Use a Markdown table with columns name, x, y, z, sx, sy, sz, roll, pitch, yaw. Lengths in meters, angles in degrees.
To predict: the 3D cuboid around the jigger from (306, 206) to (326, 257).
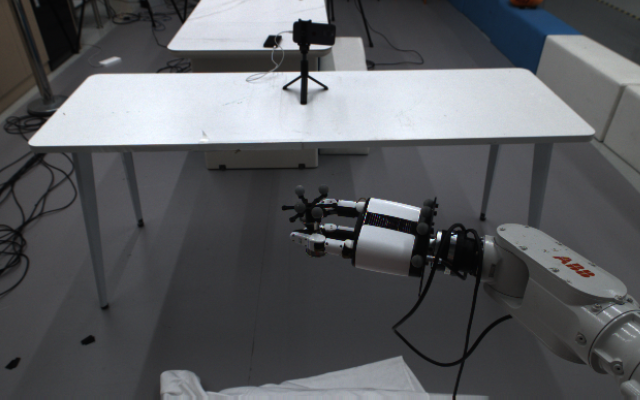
| name | x | y | z | sx | sy | sz | roll | pitch | yaw |
| --- | --- | --- | --- | --- | --- | --- | --- | --- | --- |
| jigger | -0.007 | 0.050 | 0.786 | 0.043 | 0.071 | 0.043 | -9 | 31 | 5 |
